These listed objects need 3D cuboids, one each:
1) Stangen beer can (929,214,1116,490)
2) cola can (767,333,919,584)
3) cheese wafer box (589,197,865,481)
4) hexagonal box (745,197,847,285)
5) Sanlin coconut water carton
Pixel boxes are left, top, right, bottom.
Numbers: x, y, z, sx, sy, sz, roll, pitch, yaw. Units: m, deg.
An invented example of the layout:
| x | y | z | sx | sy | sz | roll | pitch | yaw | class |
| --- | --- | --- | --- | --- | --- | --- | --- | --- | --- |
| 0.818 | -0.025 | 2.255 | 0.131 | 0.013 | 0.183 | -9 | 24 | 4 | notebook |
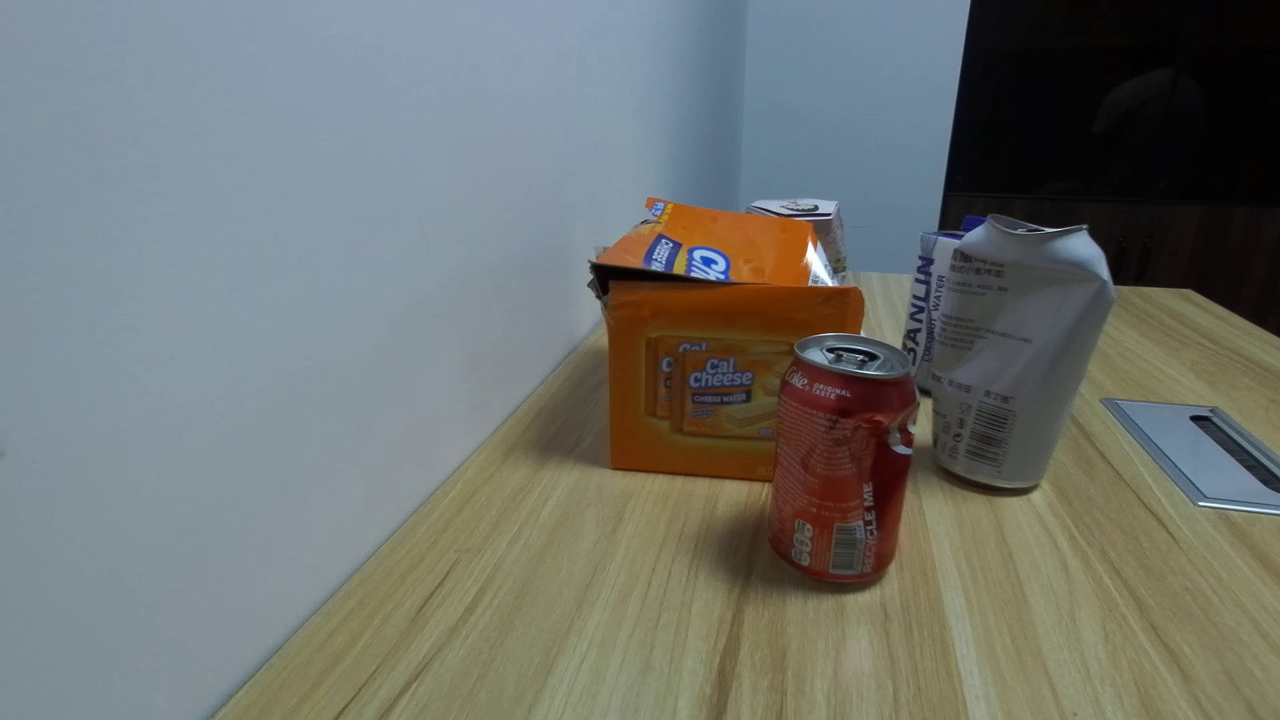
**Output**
| x | y | z | sx | sy | sz | roll | pitch | yaw | class |
| --- | --- | --- | --- | --- | --- | --- | --- | --- | --- |
| 0.226 | -0.003 | 0.430 | 0.077 | 0.162 | 0.066 | 2 | 21 | 3 | Stangen beer can |
| 0.099 | 0.047 | 0.349 | 0.066 | 0.117 | 0.066 | -12 | 25 | -28 | cola can |
| 0.076 | -0.029 | 0.518 | 0.191 | 0.145 | 0.219 | 3 | 21 | 8 | cheese wafer box |
| 0.143 | -0.081 | 0.672 | 0.091 | 0.134 | 0.090 | 16 | 30 | 34 | hexagonal box |
| 0.272 | -0.056 | 0.543 | 0.078 | 0.058 | 0.141 | -5 | 27 | -24 | Sanlin coconut water carton |
